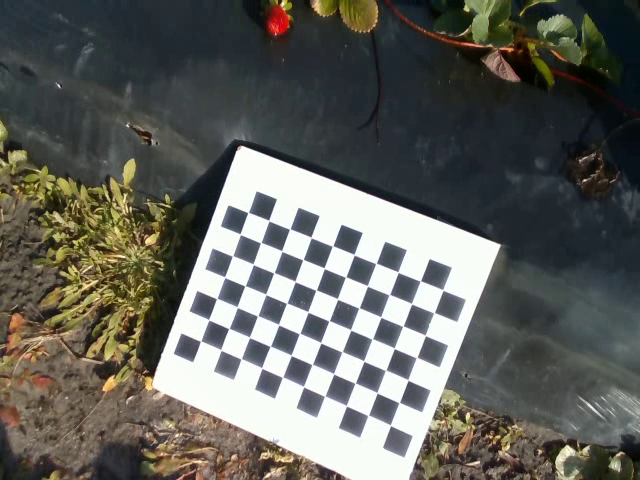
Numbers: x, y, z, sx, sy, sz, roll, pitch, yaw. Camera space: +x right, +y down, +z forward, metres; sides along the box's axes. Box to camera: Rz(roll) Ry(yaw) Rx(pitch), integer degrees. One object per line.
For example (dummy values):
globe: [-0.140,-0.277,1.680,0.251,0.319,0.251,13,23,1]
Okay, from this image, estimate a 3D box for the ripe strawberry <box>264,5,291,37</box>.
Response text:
ripe strawberry: [-0.037,-0.187,0.528,0.028,0.031,0.041,-4,32,9]
